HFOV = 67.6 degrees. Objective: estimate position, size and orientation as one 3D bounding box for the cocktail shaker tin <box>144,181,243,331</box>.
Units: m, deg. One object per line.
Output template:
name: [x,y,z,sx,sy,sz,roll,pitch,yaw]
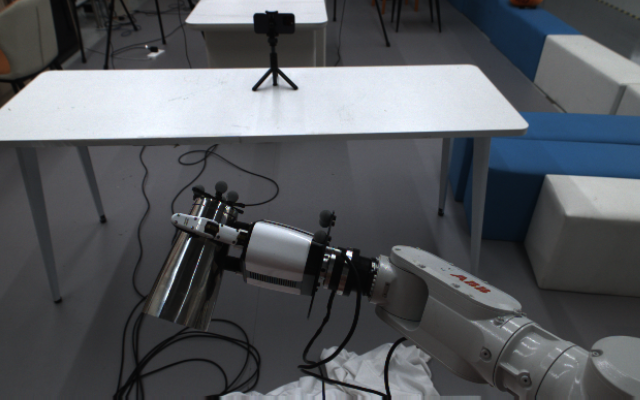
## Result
cocktail shaker tin: [-0.173,0.085,0.679,0.093,0.093,0.170,12,72,14]
